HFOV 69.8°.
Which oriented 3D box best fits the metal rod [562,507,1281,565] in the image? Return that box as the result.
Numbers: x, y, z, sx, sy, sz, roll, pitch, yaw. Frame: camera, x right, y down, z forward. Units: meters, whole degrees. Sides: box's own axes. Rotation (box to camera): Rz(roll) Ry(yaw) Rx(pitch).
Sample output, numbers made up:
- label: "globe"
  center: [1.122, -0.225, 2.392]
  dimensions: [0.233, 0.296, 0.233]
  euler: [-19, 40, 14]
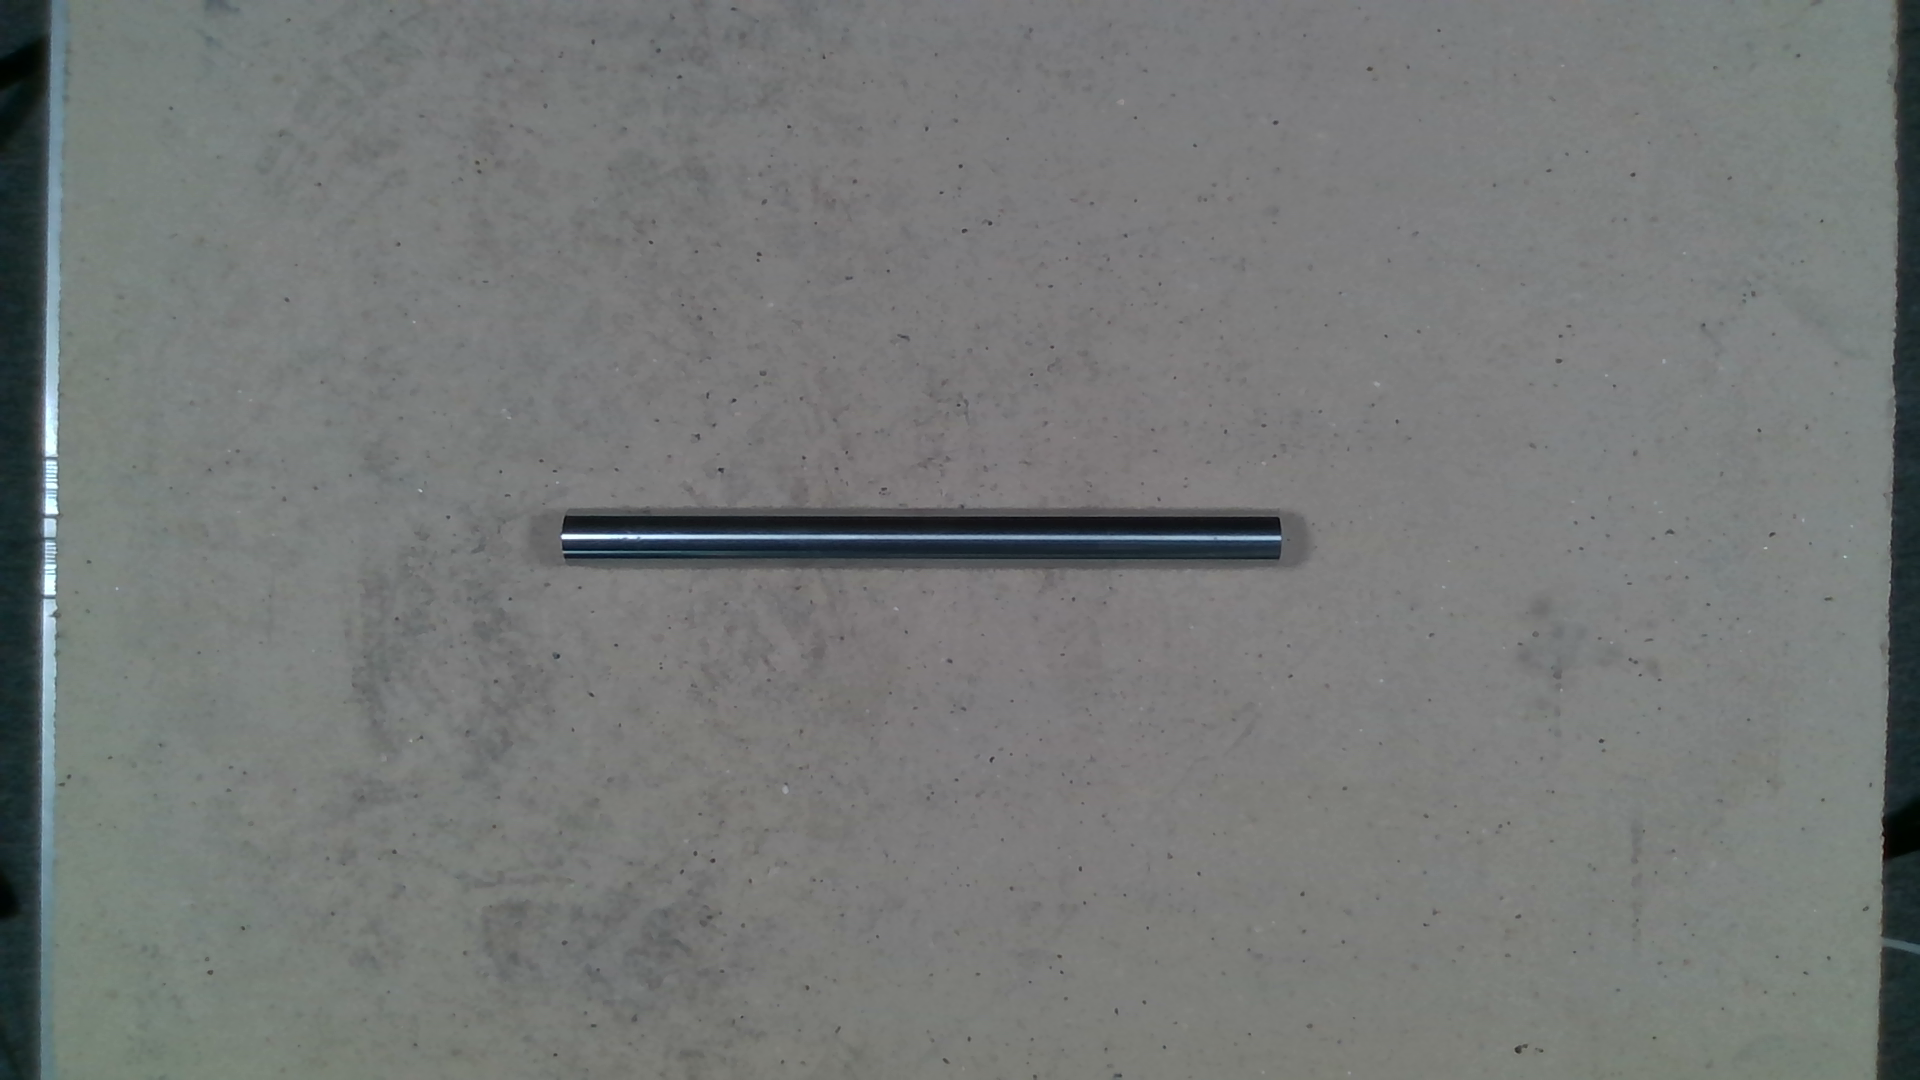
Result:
- label: "metal rod"
  center: [-0.016, -0.002, 0.587]
  dimensions: [0.300, 0.025, 0.025]
  euler: [0, 90, 0]
